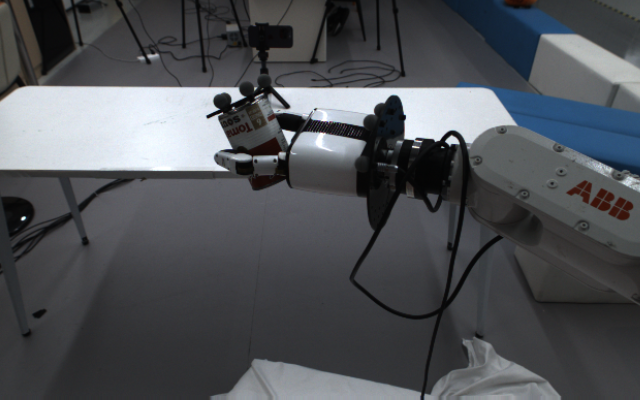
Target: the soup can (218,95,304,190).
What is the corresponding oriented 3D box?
[{"bbox_3d":[-0.076,-0.072,0.613,0.067,0.101,0.067,-23,16,7],"label":"soup can"}]
